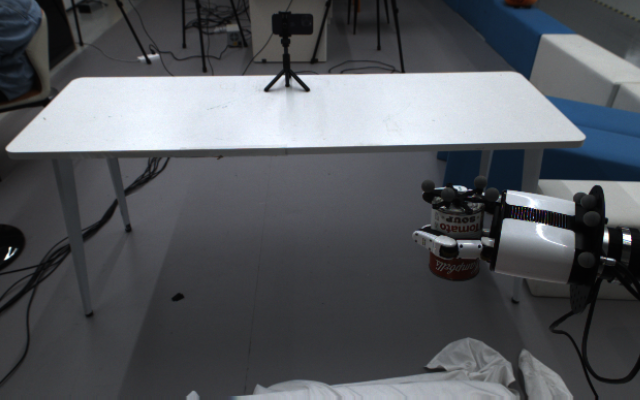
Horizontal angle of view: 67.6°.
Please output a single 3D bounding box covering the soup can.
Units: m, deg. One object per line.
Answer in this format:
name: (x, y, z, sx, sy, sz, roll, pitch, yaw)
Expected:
soup can: (0.183, 0.046, 0.643, 0.067, 0.101, 0.067, -4, 26, 2)
